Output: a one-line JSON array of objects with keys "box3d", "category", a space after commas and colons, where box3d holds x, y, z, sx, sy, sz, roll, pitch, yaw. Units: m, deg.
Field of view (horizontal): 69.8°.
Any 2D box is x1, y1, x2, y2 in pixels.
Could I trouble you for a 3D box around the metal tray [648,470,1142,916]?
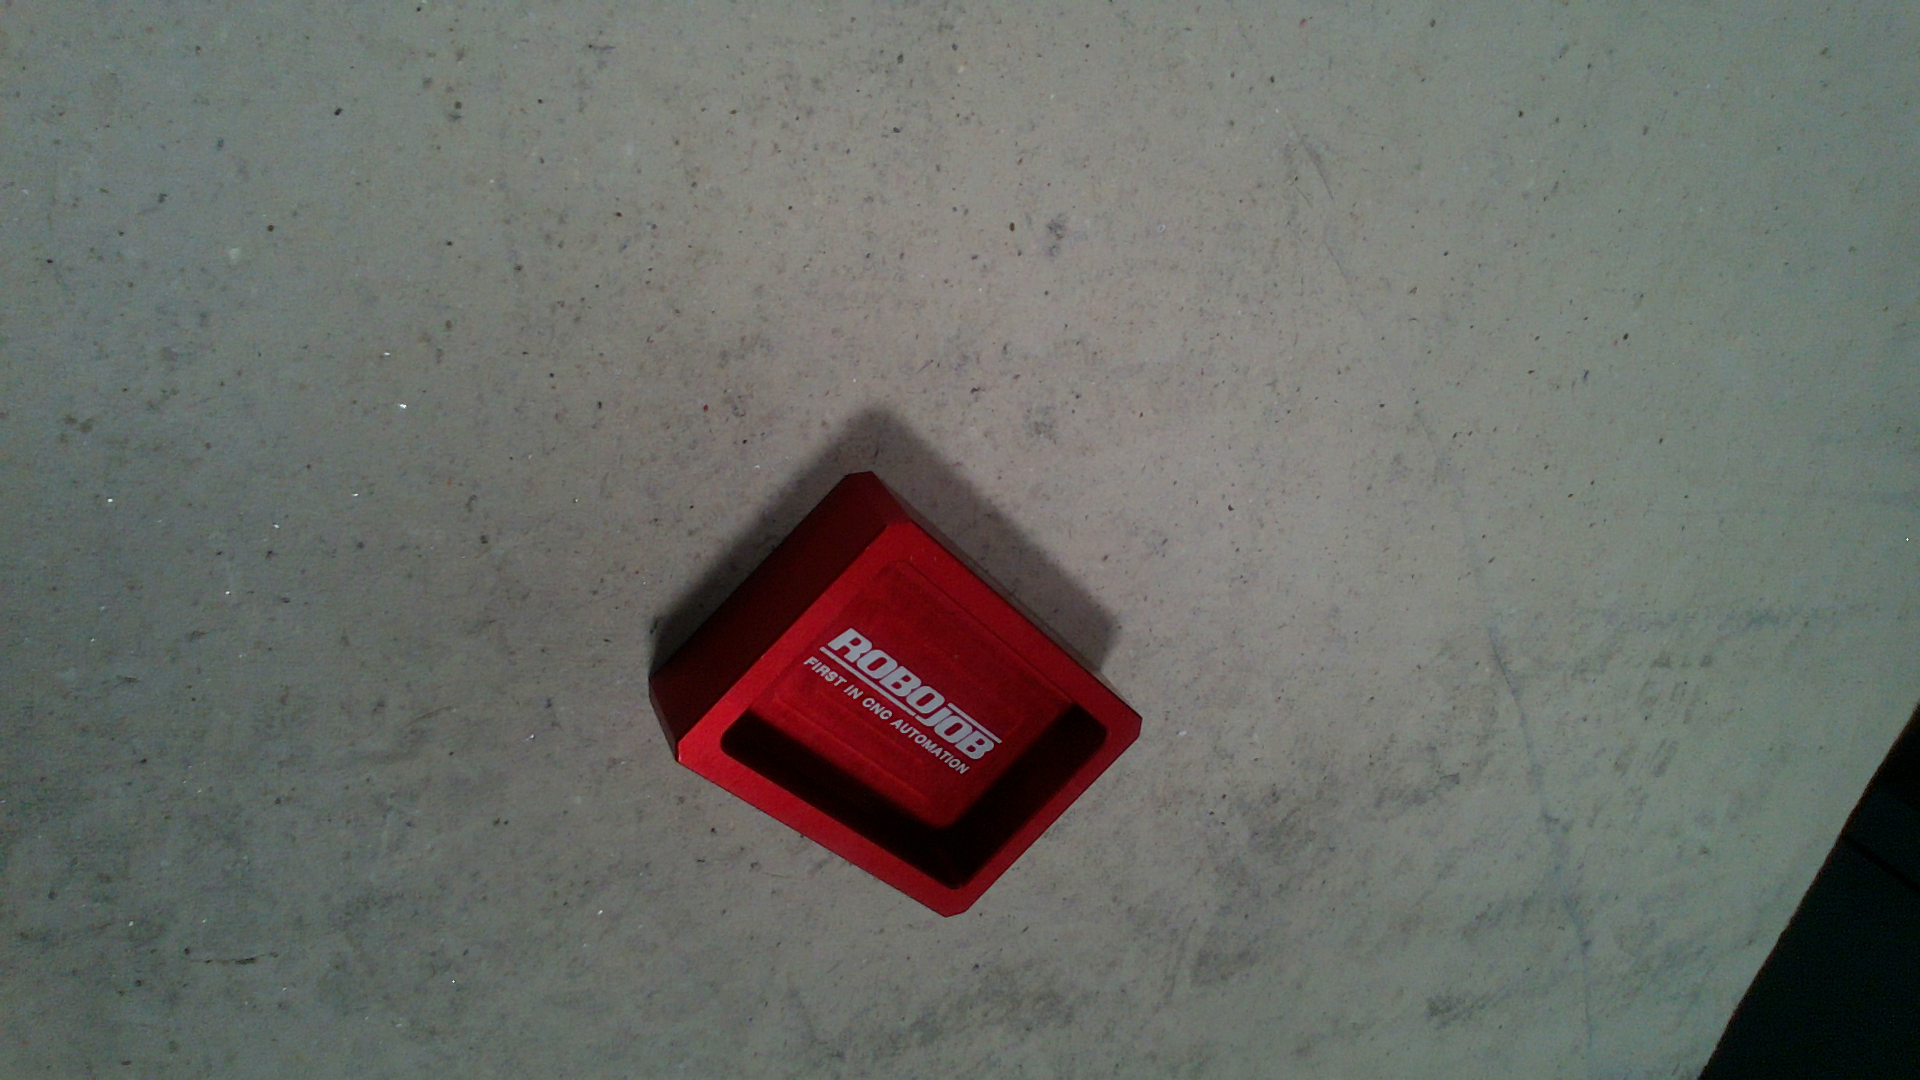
[{"box3d": [-0.015, 0.050, 0.409, 0.090, 0.030, 0.130, -46, 129, 4], "category": "metal tray"}]
